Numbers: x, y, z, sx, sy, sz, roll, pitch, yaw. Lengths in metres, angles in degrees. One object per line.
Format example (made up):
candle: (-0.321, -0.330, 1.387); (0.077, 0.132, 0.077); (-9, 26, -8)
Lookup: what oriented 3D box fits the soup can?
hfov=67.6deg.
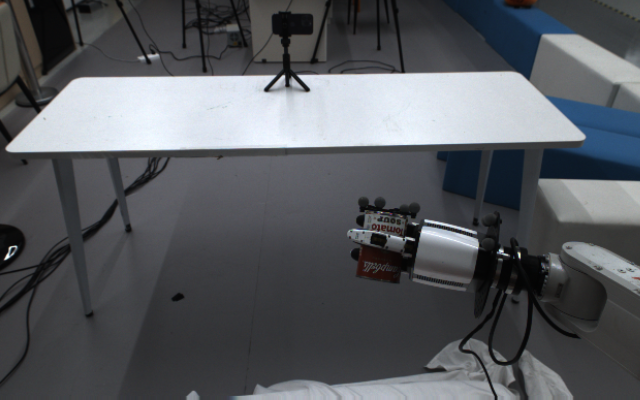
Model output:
soup can: (0.095, 0.071, 0.737); (0.067, 0.101, 0.067); (9, -6, 1)
